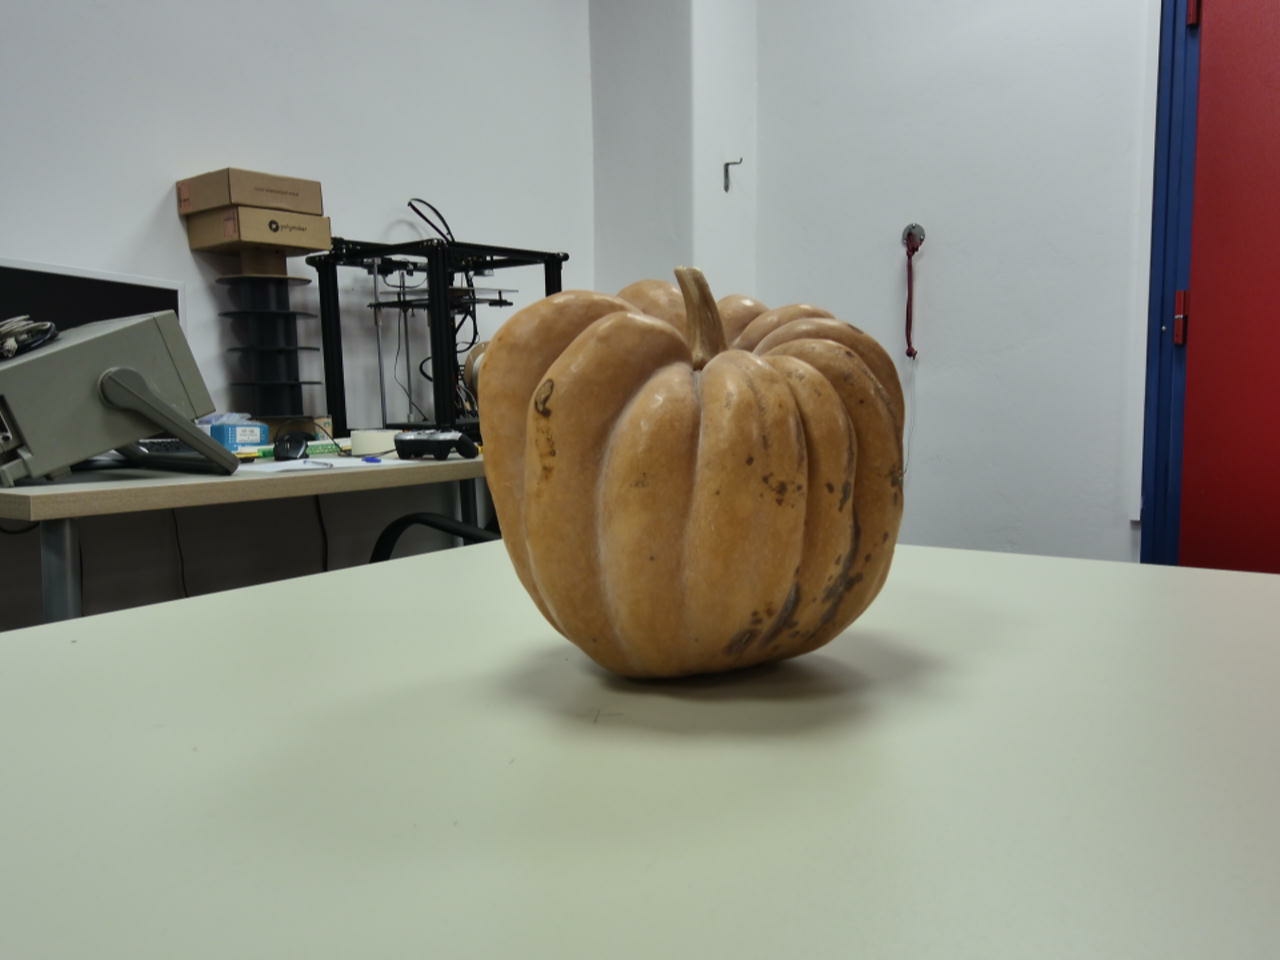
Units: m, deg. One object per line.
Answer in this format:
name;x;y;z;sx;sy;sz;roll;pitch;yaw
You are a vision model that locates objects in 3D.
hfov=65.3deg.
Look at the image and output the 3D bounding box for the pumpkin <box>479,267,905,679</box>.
pumpkin;0.022;-0.005;0.451;0.199;0.177;0.198;0;3;0
